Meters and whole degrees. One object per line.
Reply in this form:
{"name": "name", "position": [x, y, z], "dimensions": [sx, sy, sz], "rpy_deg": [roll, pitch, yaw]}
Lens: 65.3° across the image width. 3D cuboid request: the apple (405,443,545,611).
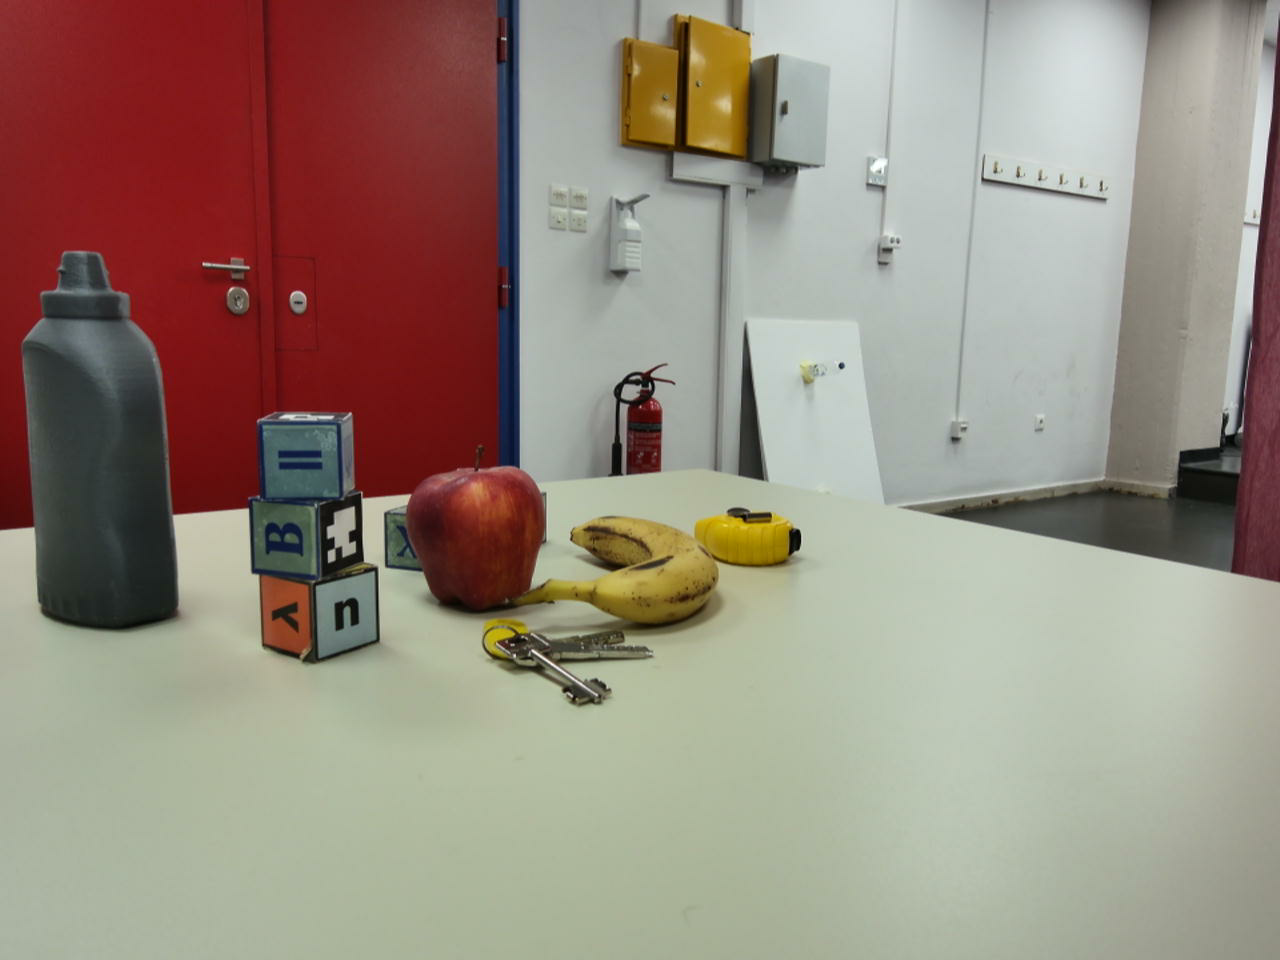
{"name": "apple", "position": [-0.094, 0.026, 0.572], "dimensions": [0.083, 0.090, 0.083], "rpy_deg": [0, 7, 0]}
